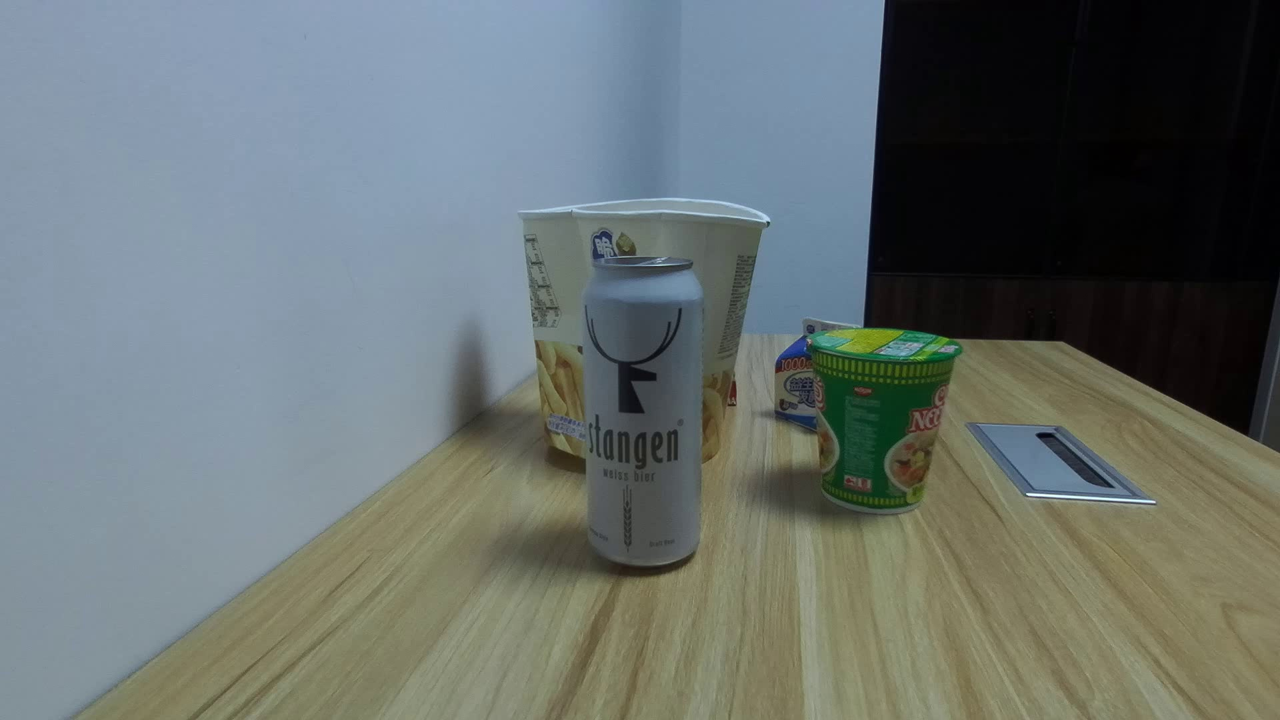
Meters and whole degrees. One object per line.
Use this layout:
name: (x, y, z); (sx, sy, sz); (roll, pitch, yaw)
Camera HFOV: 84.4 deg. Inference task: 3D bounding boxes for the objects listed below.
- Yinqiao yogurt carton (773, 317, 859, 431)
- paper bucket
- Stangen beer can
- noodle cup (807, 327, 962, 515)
Yinqiao yogurt carton: (0.168, 0.010, 0.626); (0.071, 0.094, 0.077); (-16, 18, -24)
paper bucket: (-0.003, -0.026, 0.561); (0.217, 0.199, 0.148); (2, 13, 14)
Stangen beer can: (0.002, 0.030, 0.399); (0.067, 0.171, 0.067); (0, 13, 0)
noodle cup: (0.160, 0.040, 0.479); (0.097, 0.110, 0.097); (0, 12, 0)
